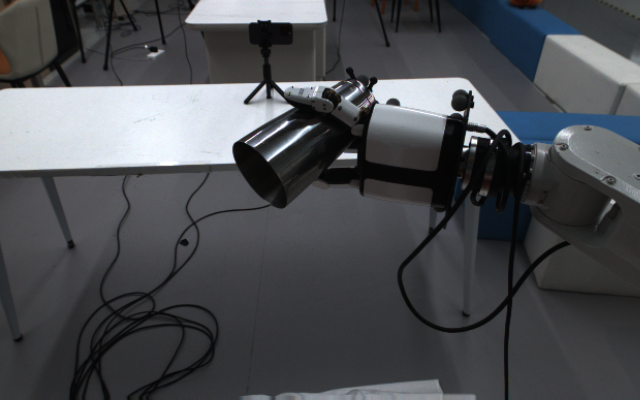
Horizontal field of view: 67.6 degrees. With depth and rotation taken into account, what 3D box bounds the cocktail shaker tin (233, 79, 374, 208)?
[{"bbox_3d":[-0.009,-0.081,0.581,0.170,0.093,0.093,-38,50,-24],"label":"cocktail shaker tin"}]
